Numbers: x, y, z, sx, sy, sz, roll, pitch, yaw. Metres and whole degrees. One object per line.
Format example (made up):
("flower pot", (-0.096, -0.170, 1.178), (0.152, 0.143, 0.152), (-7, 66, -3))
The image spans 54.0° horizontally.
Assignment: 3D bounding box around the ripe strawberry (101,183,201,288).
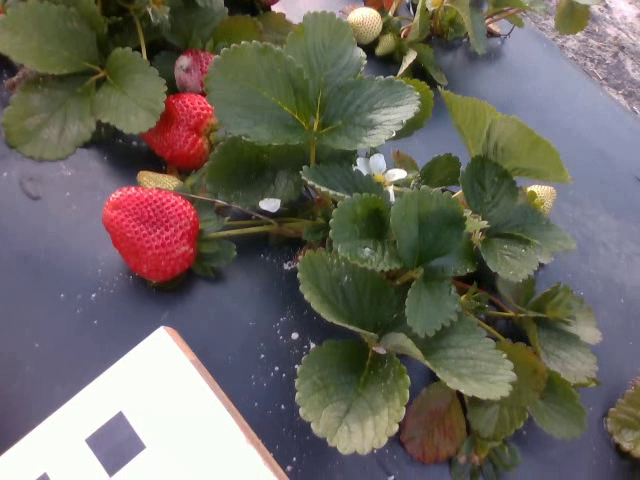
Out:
("ripe strawberry", (-0.042, -0.003, 0.150), (0.022, 0.025, 0.030), (27, -4, 38))
